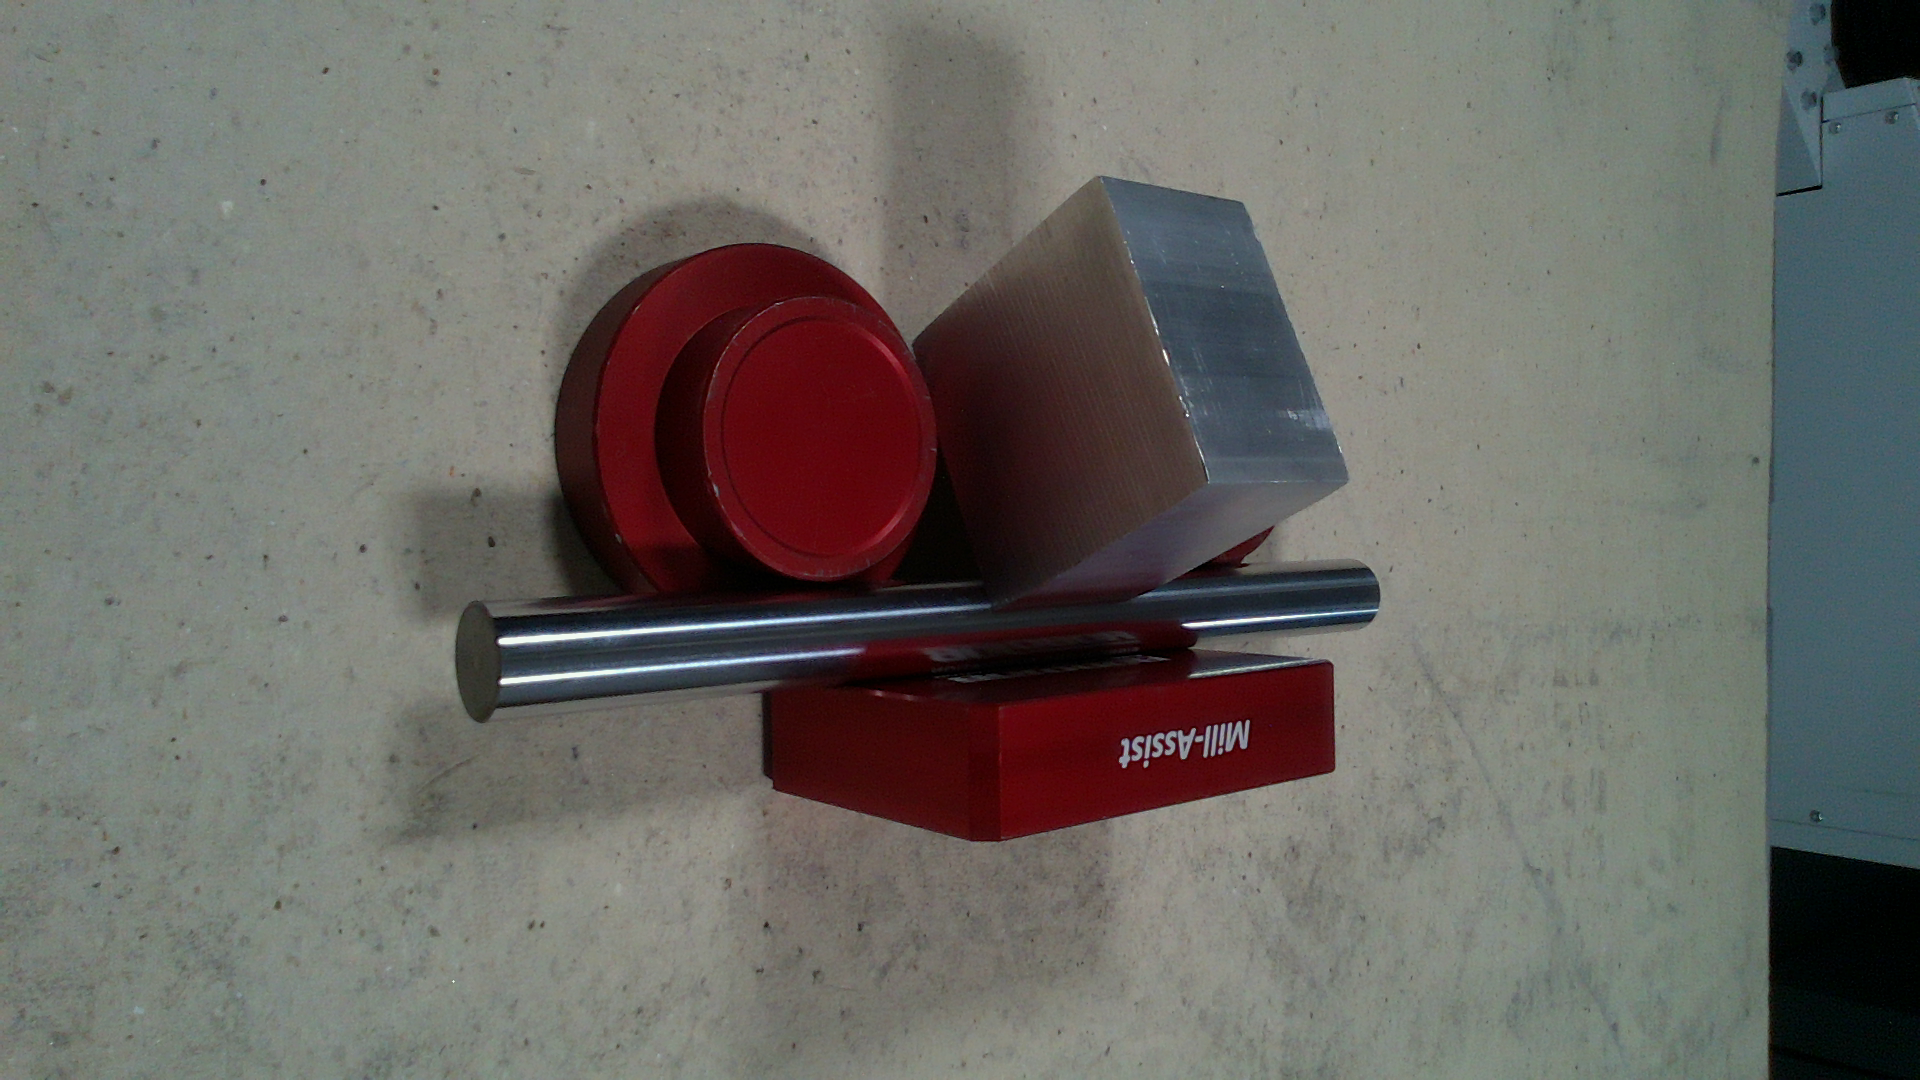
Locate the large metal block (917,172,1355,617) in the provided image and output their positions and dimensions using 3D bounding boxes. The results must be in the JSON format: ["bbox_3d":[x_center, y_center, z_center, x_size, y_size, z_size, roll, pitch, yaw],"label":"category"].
[{"bbox_3d":[0.041,-0.034,0.353,0.050,0.080,0.080,-3,68,-40],"label":"large metal block"}]

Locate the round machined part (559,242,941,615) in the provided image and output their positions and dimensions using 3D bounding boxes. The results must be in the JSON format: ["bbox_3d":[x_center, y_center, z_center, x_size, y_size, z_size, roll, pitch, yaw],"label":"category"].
[{"bbox_3d":[-0.044,-0.024,0.339,0.098,0.042,0.098,0,90,-40],"label":"round machined part"}]

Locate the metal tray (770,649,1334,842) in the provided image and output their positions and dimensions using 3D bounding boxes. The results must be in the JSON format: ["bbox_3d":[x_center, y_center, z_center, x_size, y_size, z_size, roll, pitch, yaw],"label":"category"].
[{"bbox_3d":[0.026,0.049,0.369,0.131,0.090,0.030,-2,91,-40],"label":"metal tray"}]

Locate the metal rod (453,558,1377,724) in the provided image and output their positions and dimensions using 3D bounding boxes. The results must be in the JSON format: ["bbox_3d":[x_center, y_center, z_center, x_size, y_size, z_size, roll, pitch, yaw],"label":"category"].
[{"bbox_3d":[0.017,0.022,0.377,0.301,0.025,0.025,-2,91,-40],"label":"metal rod"}]

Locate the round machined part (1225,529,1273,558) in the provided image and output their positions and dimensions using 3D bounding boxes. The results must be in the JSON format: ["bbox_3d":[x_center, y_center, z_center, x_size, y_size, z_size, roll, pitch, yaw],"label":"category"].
[{"bbox_3d":[0.068,-0.028,0.433,0.098,0.042,0.098,0,90,-40],"label":"round machined part"}]
